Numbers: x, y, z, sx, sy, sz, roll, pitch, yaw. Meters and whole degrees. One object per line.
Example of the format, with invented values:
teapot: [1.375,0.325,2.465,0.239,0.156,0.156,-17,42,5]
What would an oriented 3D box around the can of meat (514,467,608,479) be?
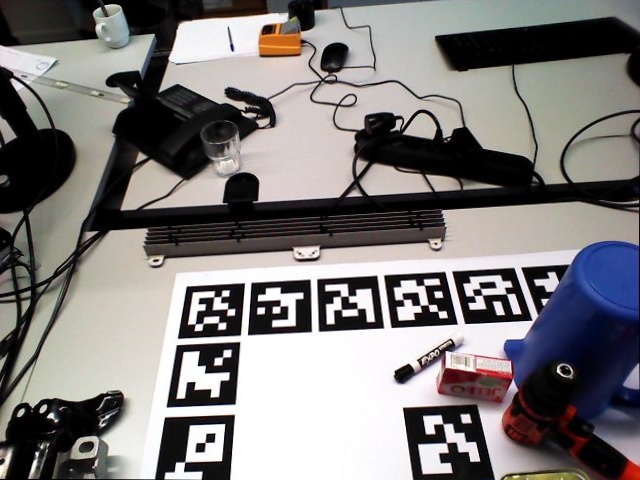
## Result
can of meat: [0.261,0.297,0.575,0.102,0.084,0.057,-5,48,1]

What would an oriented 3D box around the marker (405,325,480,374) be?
marker: [0.174,0.158,0.742,0.121,0.020,0.019,-26,53,-13]

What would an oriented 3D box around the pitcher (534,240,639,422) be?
pitcher: [0.367,0.117,0.623,0.190,0.243,0.132,19,58,28]

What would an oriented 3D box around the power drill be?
power drill: [0.323,0.214,0.577,0.187,0.185,0.057,28,61,19]

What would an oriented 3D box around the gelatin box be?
gelatin box: [0.228,0.180,0.687,0.090,0.073,0.030,5,55,8]
